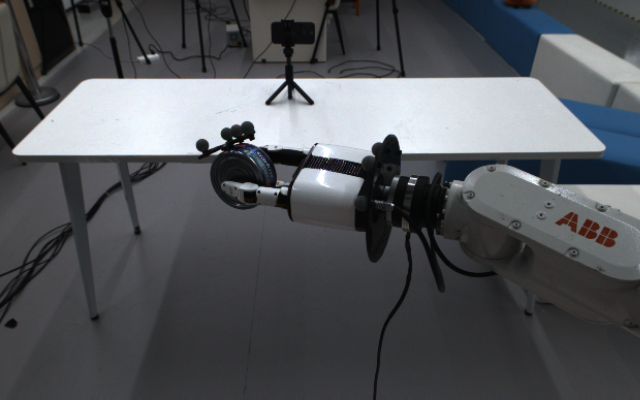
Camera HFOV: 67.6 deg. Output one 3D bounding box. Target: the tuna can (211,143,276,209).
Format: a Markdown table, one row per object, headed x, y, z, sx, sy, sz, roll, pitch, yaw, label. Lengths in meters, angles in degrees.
| x | y | z | sx | sy | sz | roll | pitch | yaw | label |
| --- | --- | --- | --- | --- | --- | --- | --- | --- | --- |
| -0.100 | -0.025 | 0.649 | 0.085 | 0.085 | 0.034 | 15 | 30 | 17 | tuna can |
